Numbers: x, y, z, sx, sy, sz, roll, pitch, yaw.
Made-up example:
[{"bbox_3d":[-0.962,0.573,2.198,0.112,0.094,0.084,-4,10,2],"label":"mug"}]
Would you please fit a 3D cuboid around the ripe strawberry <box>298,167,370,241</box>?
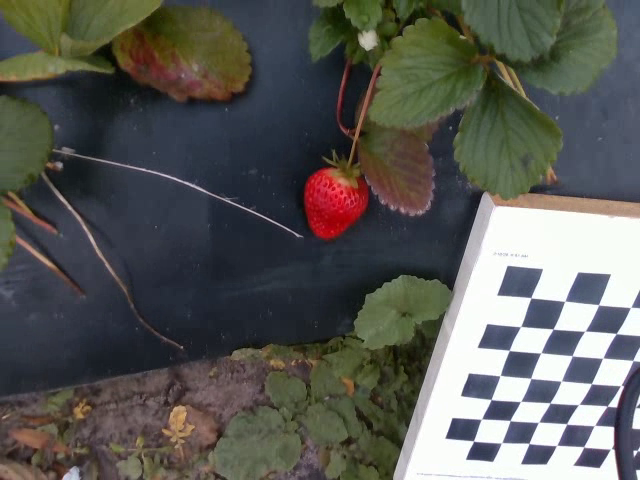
[{"bbox_3d":[0.004,-0.013,0.236,0.028,0.033,0.023,21,27,-10],"label":"ripe strawberry"}]
